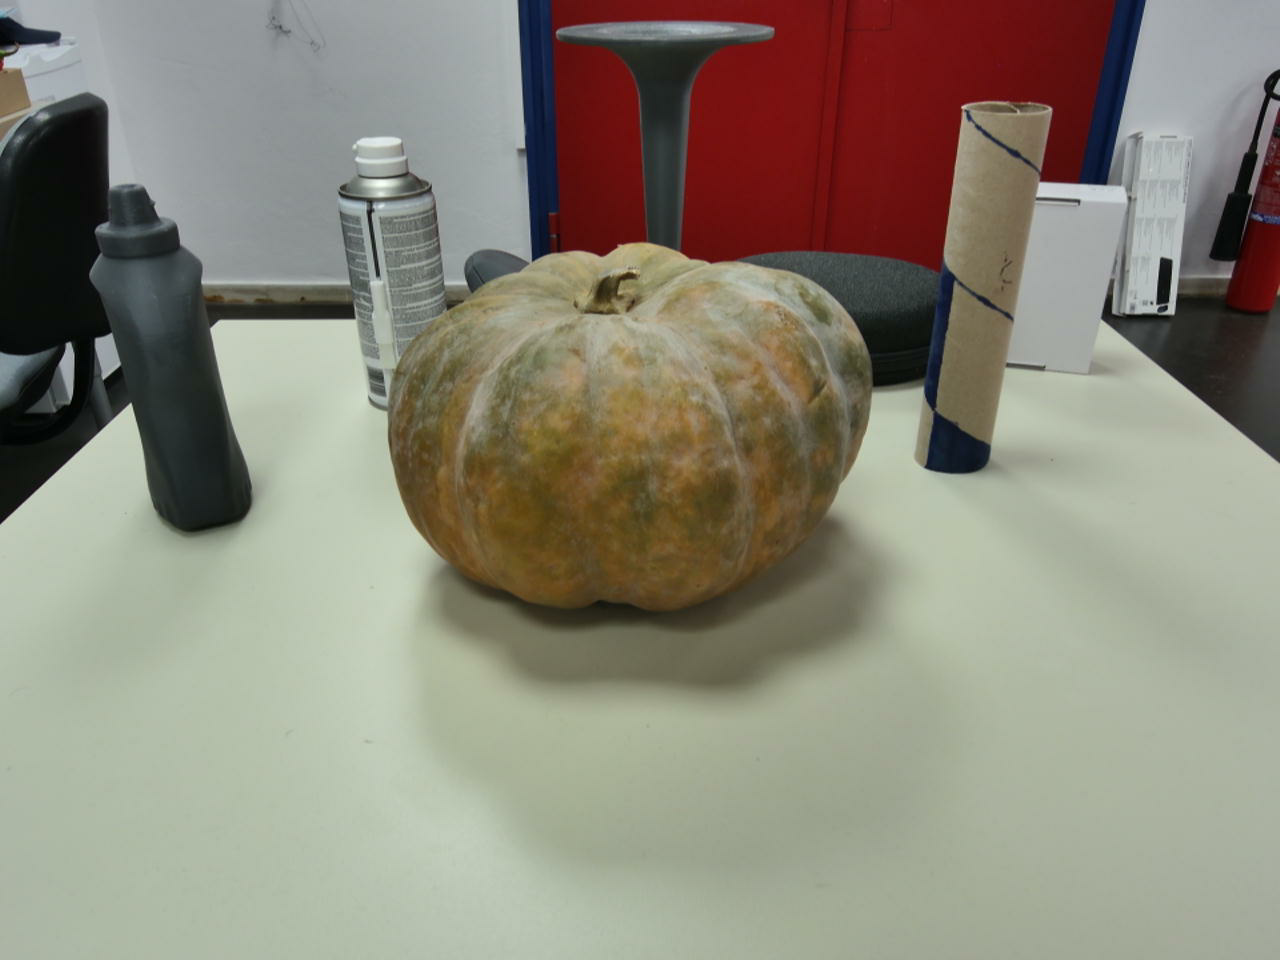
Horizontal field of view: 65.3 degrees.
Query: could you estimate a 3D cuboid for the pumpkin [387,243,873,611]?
[{"bbox_3d":[-0.012,-0.033,0.534,0.252,0.169,0.251,0,26,0],"label":"pumpkin"}]
